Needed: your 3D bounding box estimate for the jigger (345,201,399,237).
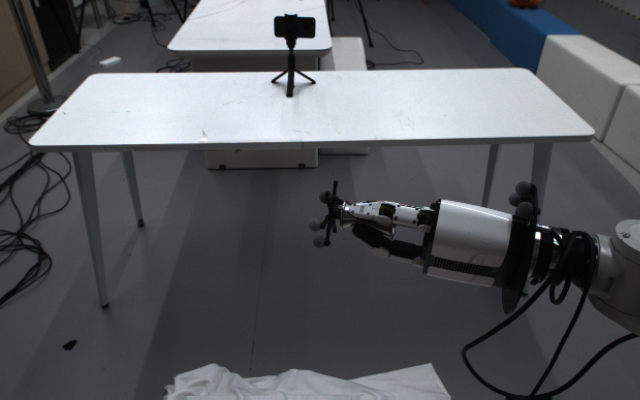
[{"bbox_3d":[0.070,0.019,0.627,0.071,0.043,0.043,7,35,16],"label":"jigger"}]
